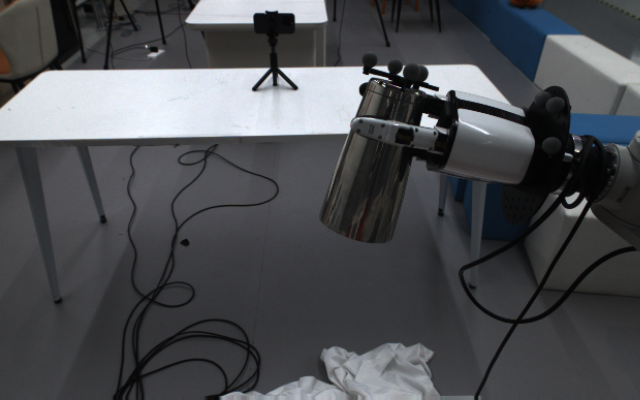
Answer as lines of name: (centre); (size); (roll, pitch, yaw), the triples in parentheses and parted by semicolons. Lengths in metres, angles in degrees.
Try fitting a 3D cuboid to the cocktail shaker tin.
cocktail shaker tin: (0.067, -0.050, 0.559); (0.093, 0.170, 0.093); (14, 18, -5)
